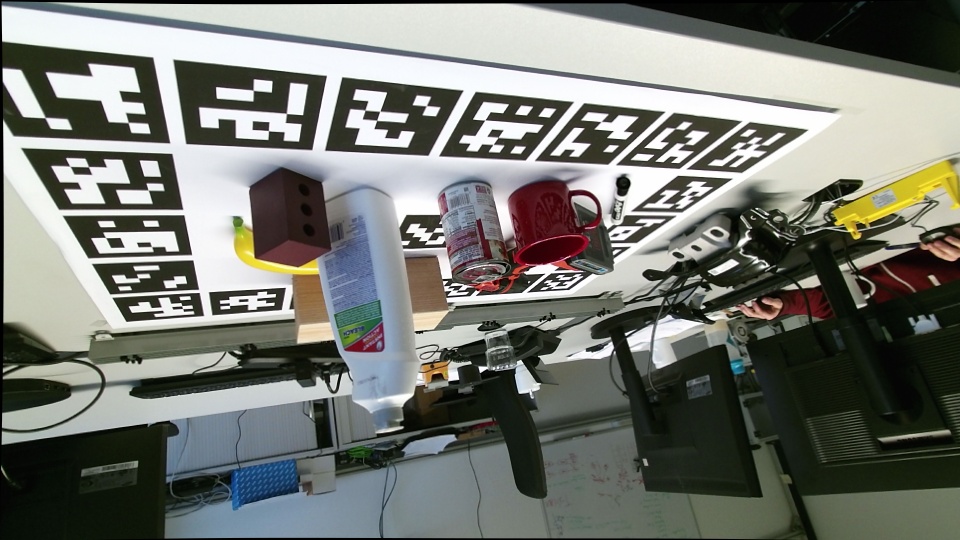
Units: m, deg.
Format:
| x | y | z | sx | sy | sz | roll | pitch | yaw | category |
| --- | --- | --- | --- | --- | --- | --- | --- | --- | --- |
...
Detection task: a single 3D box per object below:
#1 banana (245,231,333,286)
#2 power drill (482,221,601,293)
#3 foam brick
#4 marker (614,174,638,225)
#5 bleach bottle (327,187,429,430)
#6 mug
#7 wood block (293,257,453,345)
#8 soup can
| x | y | z | sx | sy | sz | roll | pitch | yaw | category |
| --- | --- | --- | --- | --- | --- | --- | --- | --- | --- |
| -0.202 | -0.008 | 0.677 | 0.198 | 0.038 | 0.074 | 7 | 138 | -38 | banana |
| 0.082 | -0.017 | 0.816 | 0.187 | 0.057 | 0.185 | -25 | 153 | 32 | power drill |
| -0.183 | -0.053 | 0.528 | 0.051 | 0.077 | 0.053 | -22 | 160 | 28 | foam brick |
| 0.197 | -0.094 | 0.726 | 0.020 | 0.019 | 0.121 | -16 | 159 | 2 | marker |
| -0.110 | 0.043 | 0.570 | 0.103 | 0.249 | 0.068 | -25 | 157 | 32 | bleach bottle |
| 0.098 | -0.057 | 0.667 | 0.117 | 0.081 | 0.093 | -23 | 156 | 17 | mug |
| -0.157 | 0.044 | 0.778 | 0.207 | 0.090 | 0.090 | -3 | 157 | -24 | wood block |
| 0.001 | -0.037 | 0.620 | 0.068 | 0.101 | 0.068 | -9 | 163 | -3 | soup can |
